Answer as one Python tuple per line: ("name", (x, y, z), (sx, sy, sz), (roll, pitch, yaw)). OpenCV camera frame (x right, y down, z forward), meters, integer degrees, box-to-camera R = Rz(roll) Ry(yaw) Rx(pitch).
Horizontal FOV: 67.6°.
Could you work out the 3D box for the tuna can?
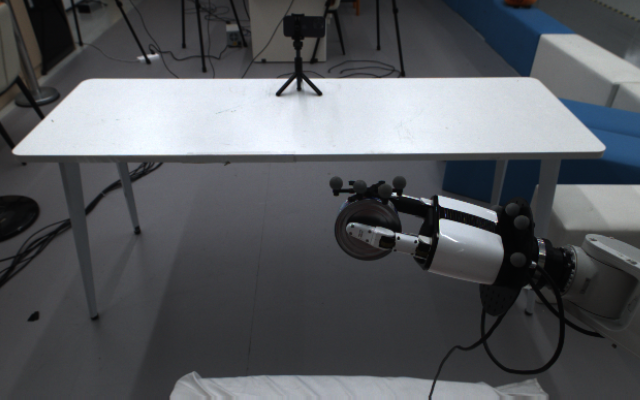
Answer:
("tuna can", (0.064, 0.034, 0.632), (0.085, 0.085, 0.034), (4, 17, 3))
